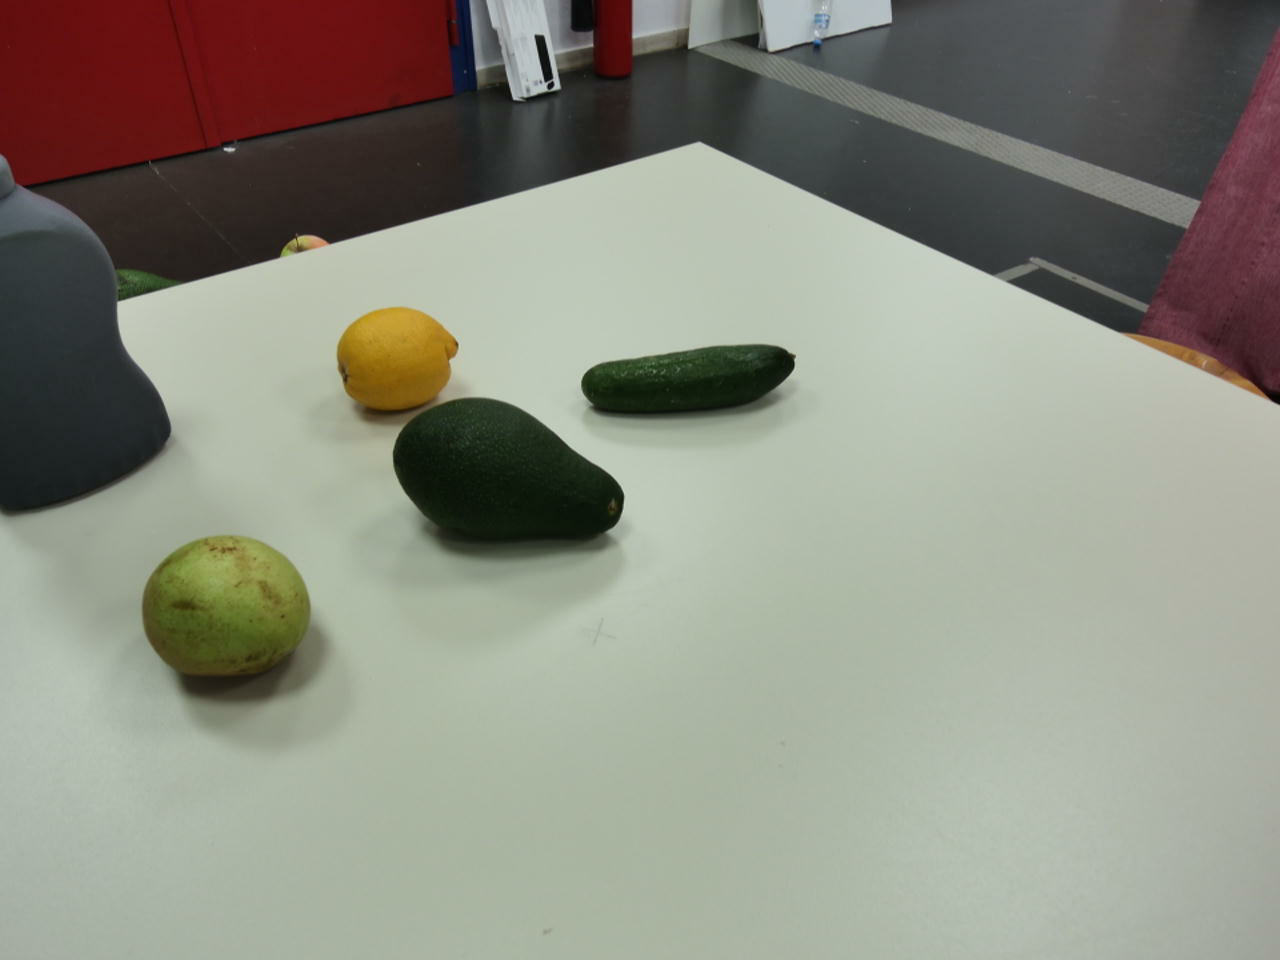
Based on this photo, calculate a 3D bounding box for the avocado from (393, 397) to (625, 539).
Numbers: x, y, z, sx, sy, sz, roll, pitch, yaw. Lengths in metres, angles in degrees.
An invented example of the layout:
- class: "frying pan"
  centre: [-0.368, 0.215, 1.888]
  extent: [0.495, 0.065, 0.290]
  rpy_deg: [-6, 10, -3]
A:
- class: "avocado"
  centre: [-0.068, -0.003, 0.499]
  extent: [0.110, 0.071, 0.072]
  rpy_deg: [19, 41, 22]
